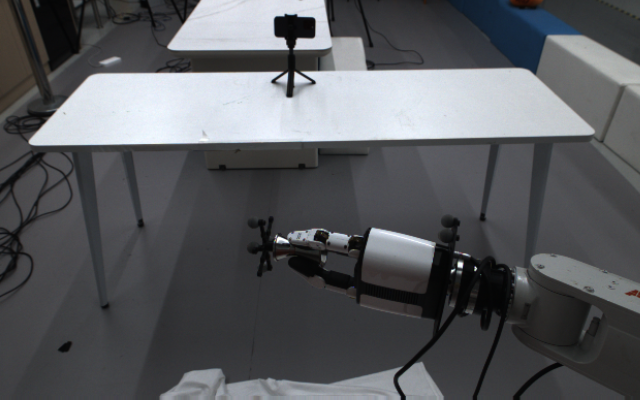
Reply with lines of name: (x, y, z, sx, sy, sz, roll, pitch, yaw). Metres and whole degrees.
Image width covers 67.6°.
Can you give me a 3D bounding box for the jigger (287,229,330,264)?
jigger: (-0.019, 0.063, 0.666, 0.071, 0.043, 0.043, 3, 34, 12)
